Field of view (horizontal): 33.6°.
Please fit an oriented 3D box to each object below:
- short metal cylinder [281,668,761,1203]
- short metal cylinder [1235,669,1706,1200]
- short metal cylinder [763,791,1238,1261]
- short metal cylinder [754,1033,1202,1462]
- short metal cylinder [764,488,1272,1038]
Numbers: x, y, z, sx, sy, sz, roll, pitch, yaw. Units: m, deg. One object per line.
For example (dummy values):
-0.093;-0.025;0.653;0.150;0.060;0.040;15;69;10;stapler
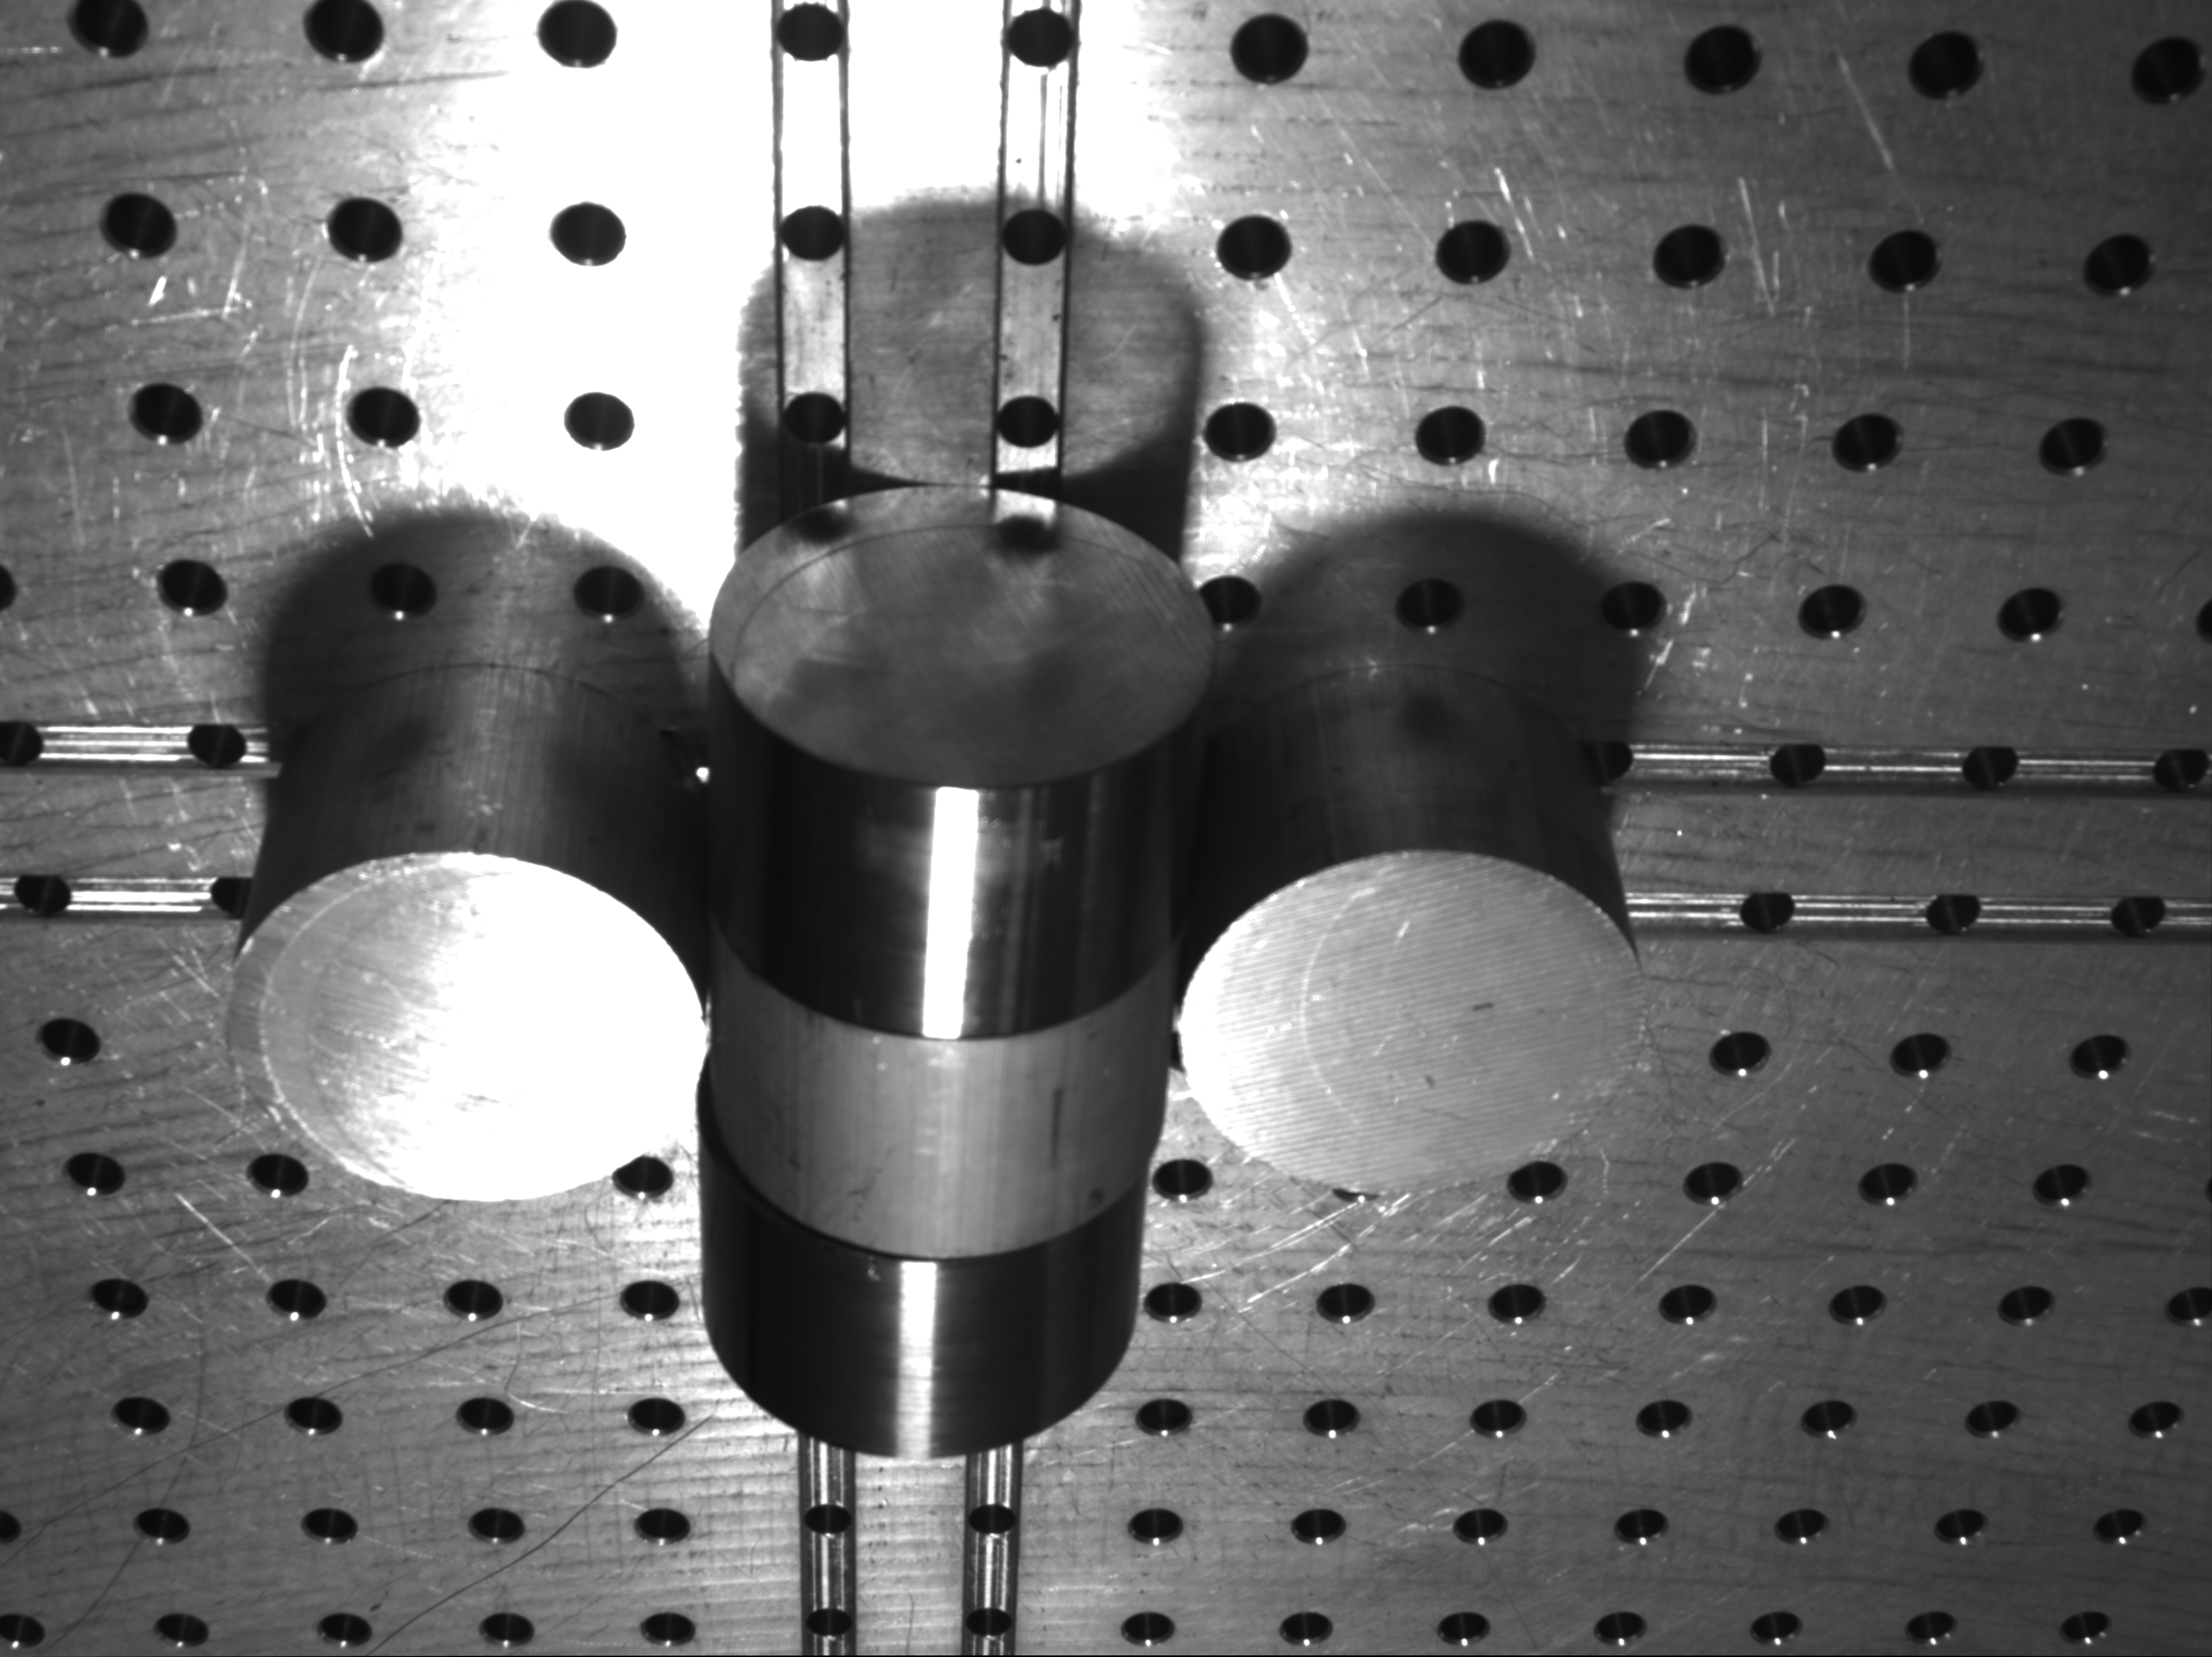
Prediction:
-0.099;0.019;0.637;0.080;0.050;0.080;-1;130;-1;short metal cylinder
0.062;0.019;0.642;0.080;0.050;0.080;-1;130;-1;short metal cylinder
-0.018;0.028;0.628;0.080;0.080;0.050;2;130;-3;short metal cylinder
-0.023;0.067;0.660;0.080;0.080;0.050;1;130;-3;short metal cylinder
-0.015;-0.012;0.594;0.080;0.080;0.050;2;130;-3;short metal cylinder
